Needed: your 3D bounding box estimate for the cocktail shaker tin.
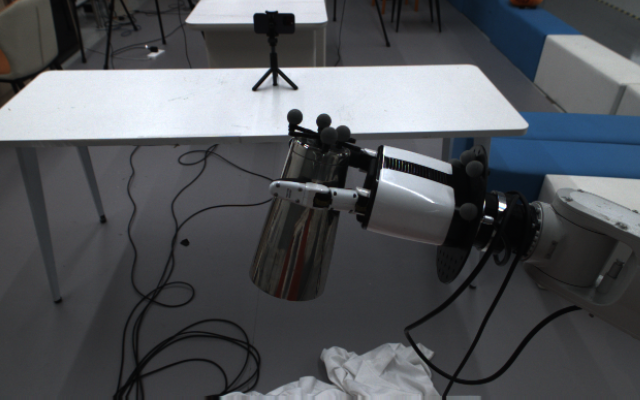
[{"bbox_3d":[-0.016,0.015,0.555,0.093,0.170,0.093,14,18,-5],"label":"cocktail shaker tin"}]
